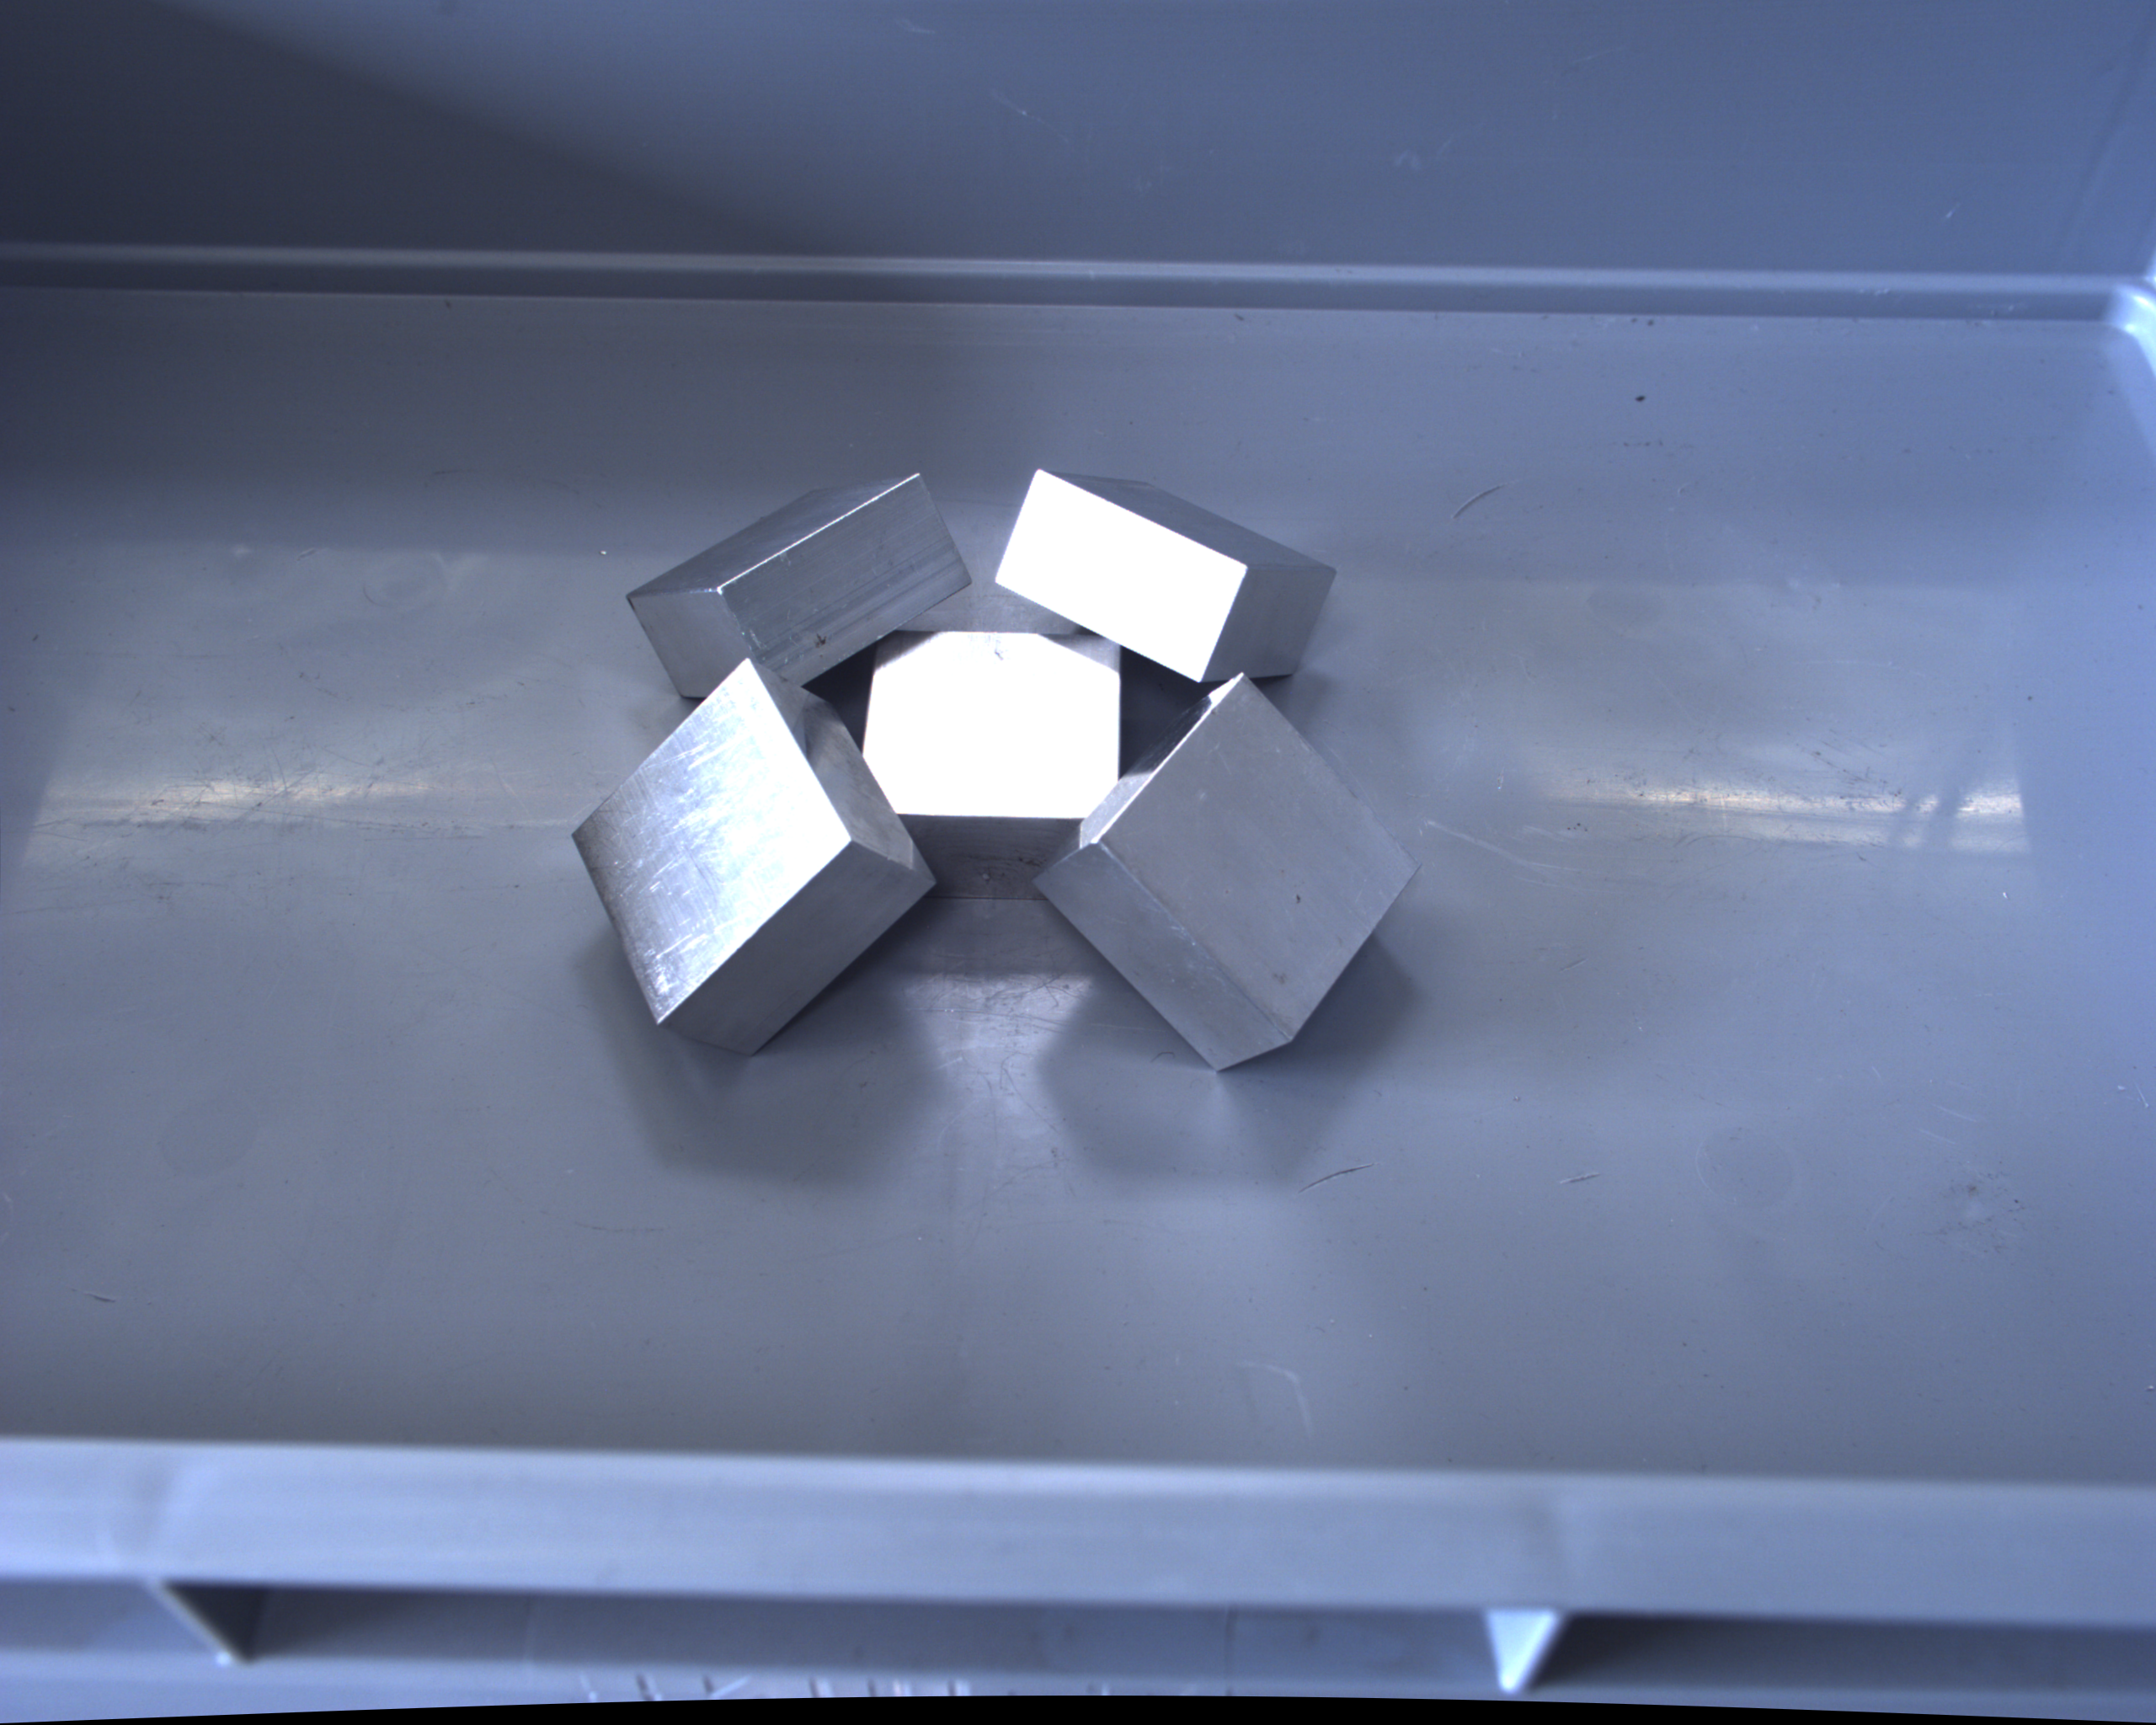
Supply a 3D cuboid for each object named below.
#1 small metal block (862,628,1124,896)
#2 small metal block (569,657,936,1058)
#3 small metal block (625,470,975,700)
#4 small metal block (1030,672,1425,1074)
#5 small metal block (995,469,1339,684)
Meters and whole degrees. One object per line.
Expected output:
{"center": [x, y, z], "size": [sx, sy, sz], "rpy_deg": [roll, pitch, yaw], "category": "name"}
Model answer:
{"center": [-0.017, -0.020, 0.419], "size": [0.050, 0.025, 0.050], "rpy_deg": [1, 50, 1], "category": "small metal block"}
{"center": [-0.062, -0.001, 0.388], "size": [0.050, 0.025, 0.050], "rpy_deg": [-42, 54, 14], "category": "small metal block"}
{"center": [-0.058, -0.057, 0.434], "size": [0.050, 0.025, 0.050], "rpy_deg": [-35, 21, -25], "category": "small metal block"}
{"center": [0.028, 0.002, 0.386], "size": [0.050, 0.025, 0.050], "rpy_deg": [46, 57, -8], "category": "small metal block"}
{"center": [0.019, -0.060, 0.437], "size": [0.050, 0.025, 0.050], "rpy_deg": [28, 19, 21], "category": "small metal block"}
